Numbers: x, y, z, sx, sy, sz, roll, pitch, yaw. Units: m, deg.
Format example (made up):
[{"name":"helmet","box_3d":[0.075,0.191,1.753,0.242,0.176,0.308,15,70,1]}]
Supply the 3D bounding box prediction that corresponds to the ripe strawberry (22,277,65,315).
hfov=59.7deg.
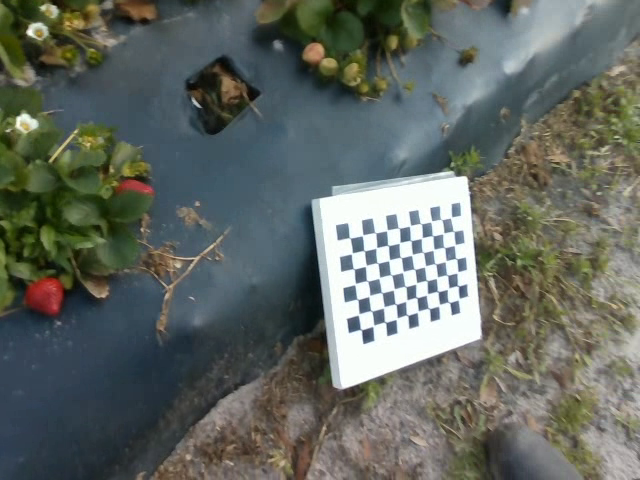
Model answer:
[{"name":"ripe strawberry","box_3d":[-0.313,0.069,0.640,0.043,0.051,0.043,-29,-14,-27]}]

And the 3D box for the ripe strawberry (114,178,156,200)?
[{"name":"ripe strawberry","box_3d":[-0.236,-0.059,0.707,0.046,0.043,0.047,-11,4,1]}]
